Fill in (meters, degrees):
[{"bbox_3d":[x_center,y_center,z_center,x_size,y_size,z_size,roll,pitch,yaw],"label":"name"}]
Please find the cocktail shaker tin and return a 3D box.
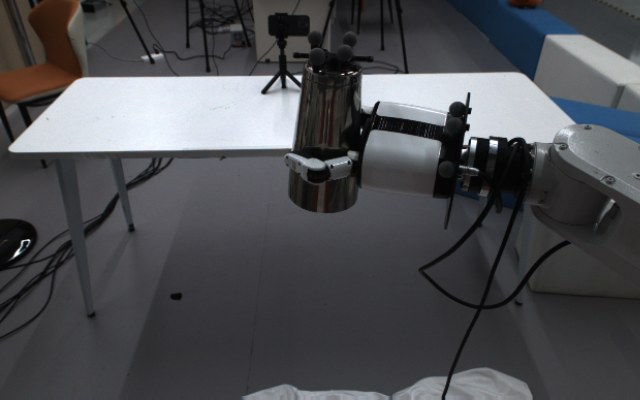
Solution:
[{"bbox_3d":[0.011,-0.081,0.584,0.093,0.170,0.093,3,34,-2],"label":"cocktail shaker tin"}]
